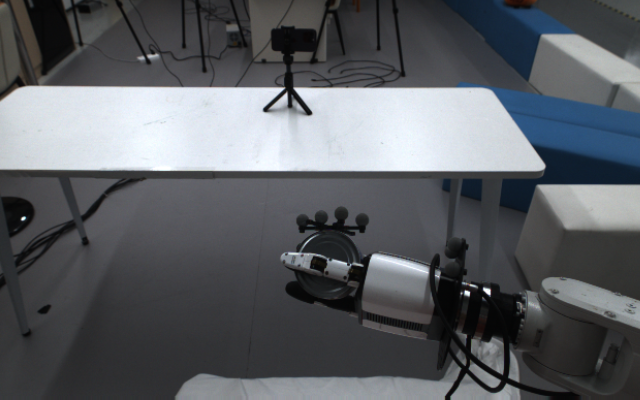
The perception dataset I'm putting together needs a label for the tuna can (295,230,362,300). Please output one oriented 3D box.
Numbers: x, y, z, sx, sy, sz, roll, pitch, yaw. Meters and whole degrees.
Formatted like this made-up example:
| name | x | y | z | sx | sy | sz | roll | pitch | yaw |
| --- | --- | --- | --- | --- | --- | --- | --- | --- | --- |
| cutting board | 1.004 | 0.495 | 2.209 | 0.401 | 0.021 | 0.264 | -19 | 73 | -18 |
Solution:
| name | x | y | z | sx | sy | sz | roll | pitch | yaw |
| --- | --- | --- | --- | --- | --- | --- | --- | --- | --- |
| tuna can | 0.013 | 0.083 | 0.614 | 0.085 | 0.034 | 0.085 | -4 | 73 | 15 |
